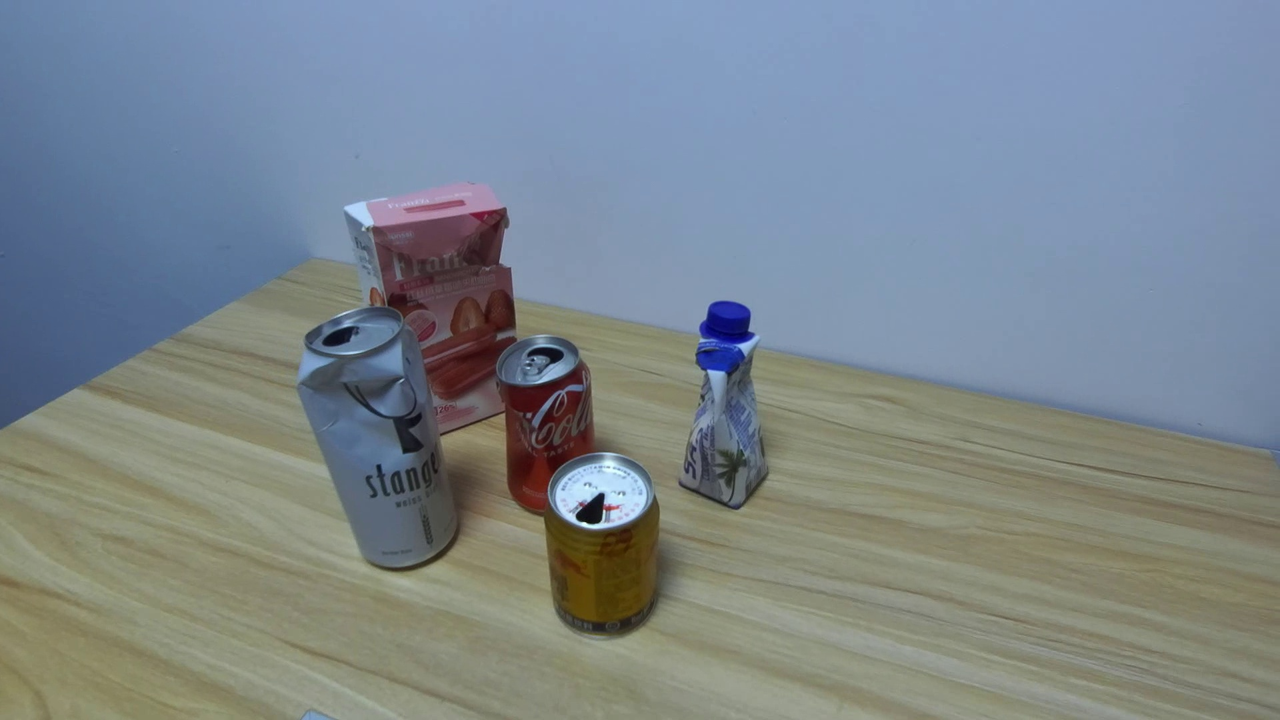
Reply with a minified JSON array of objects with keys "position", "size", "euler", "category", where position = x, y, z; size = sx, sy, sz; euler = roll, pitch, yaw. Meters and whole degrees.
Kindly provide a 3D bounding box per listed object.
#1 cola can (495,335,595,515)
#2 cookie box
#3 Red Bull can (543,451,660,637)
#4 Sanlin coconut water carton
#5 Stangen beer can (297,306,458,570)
[{"position":[-0.062,0.046,0.493],"size":[0.065,0.117,0.072],"euler":[-10,34,-18],"category":"cola can"},{"position":[-0.152,-0.034,0.550],"size":[0.105,0.186,0.059],"euler":[-18,40,-27],"category":"cookie box"},{"position":[-0.021,0.109,0.417],"size":[0.067,0.093,0.067],"euler":[1,35,0],"category":"Red Bull can"},{"position":[0.051,0.032,0.489],"size":[0.056,0.145,0.068],"euler":[13,42,31],"category":"Sanlin coconut water carton"},{"position":[-0.158,0.052,0.439],"size":[0.066,0.166,0.066],"euler":[-5,33,-7],"category":"Stangen beer can"}]
